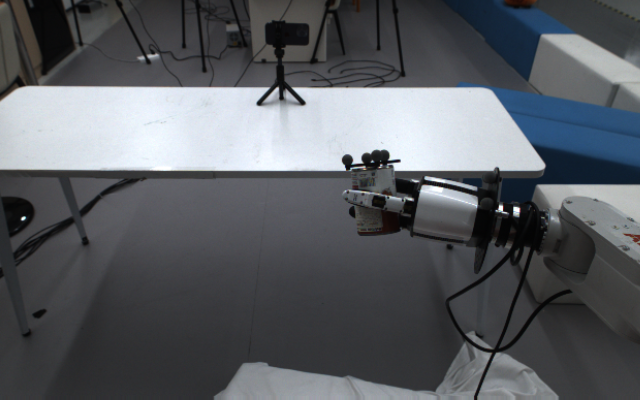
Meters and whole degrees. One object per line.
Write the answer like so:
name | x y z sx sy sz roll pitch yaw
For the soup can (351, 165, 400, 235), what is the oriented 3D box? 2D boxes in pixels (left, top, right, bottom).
soup can | 0.086 0.000 0.743 0.067 0.101 0.067 -6 3 0
